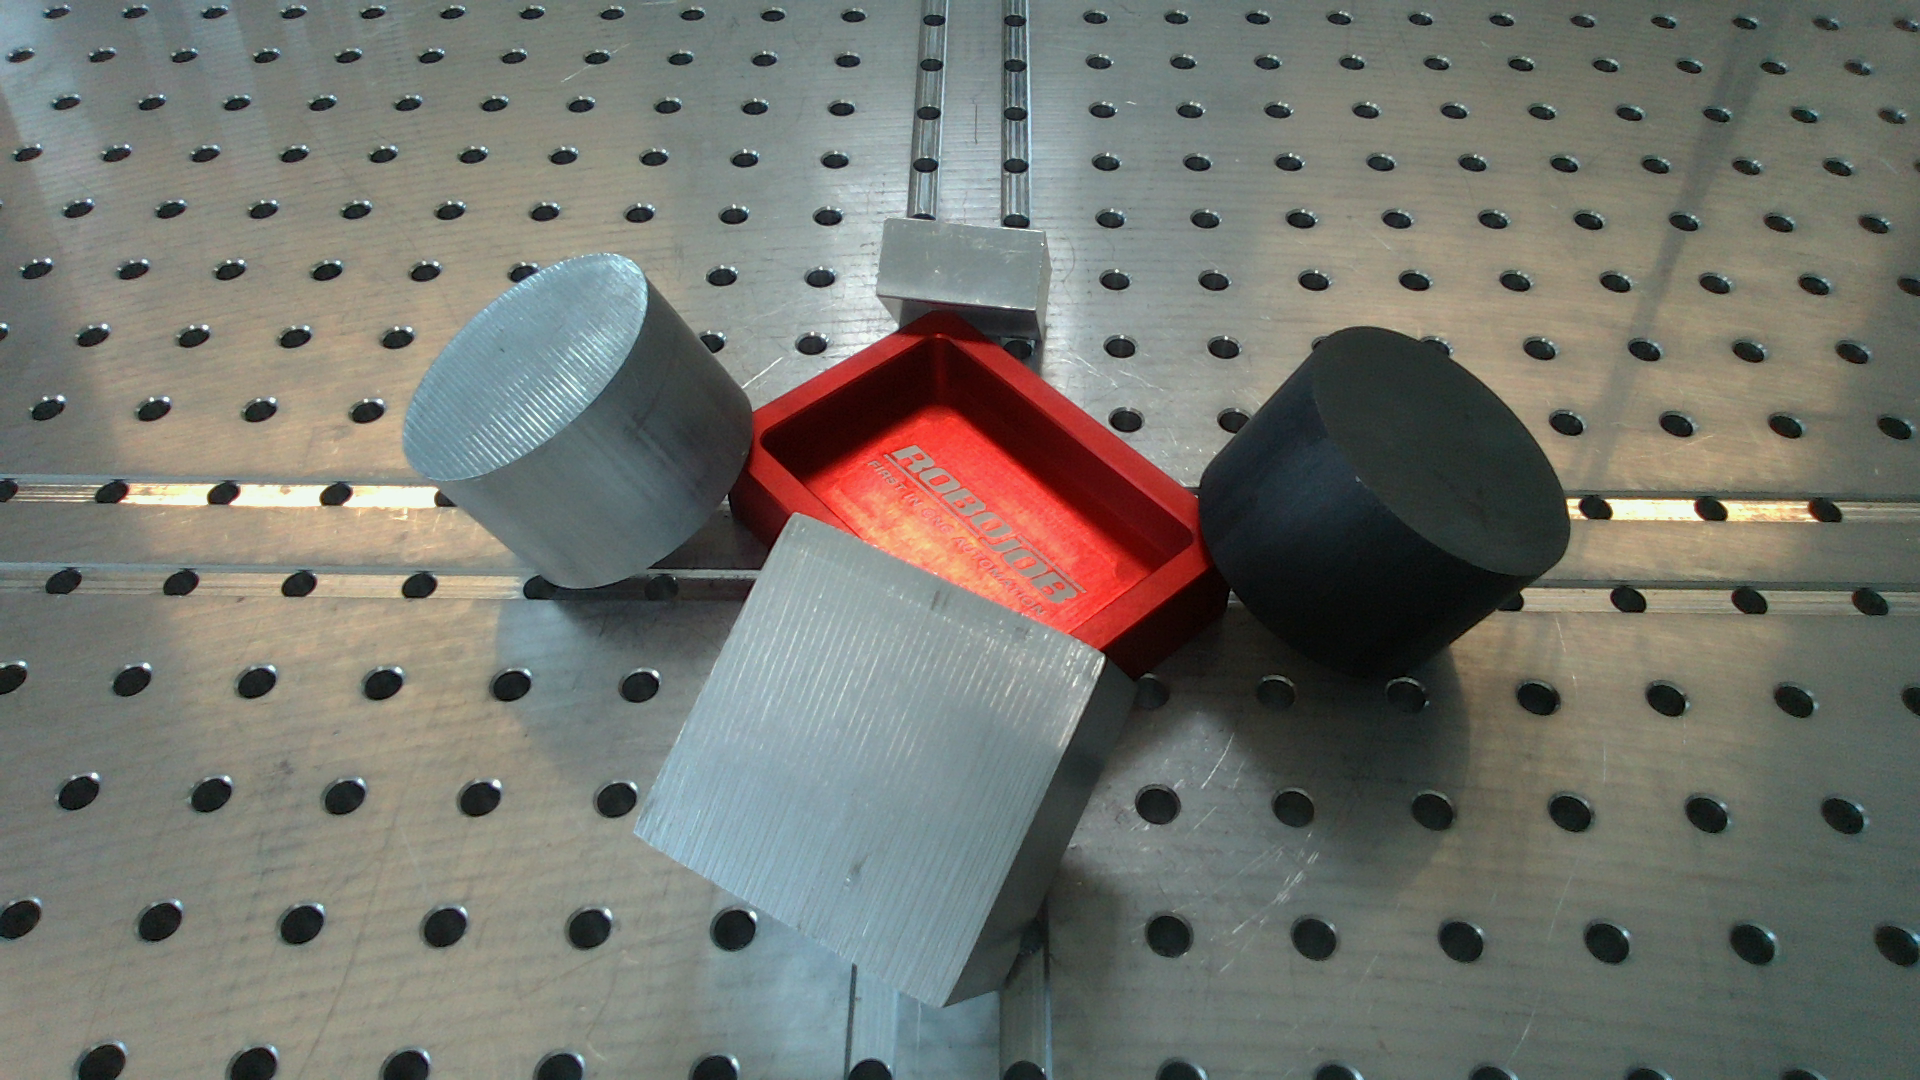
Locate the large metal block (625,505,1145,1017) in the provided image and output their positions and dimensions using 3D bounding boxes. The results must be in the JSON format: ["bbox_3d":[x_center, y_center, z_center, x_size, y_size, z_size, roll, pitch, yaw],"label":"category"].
[{"bbox_3d":[-0.015,0.049,0.314,0.080,0.050,0.080,25,85,19],"label":"large metal block"}]

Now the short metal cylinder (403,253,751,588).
[{"bbox_3d":[-0.106,-0.034,0.387,0.080,0.050,0.080,-17,47,20],"label":"short metal cylinder"}]

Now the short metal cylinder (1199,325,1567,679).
[{"bbox_3d":[0.112,-0.010,0.367,0.080,0.050,0.080,18,47,-20],"label":"short metal cylinder"}]

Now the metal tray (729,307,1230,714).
[{"bbox_3d":[0.003,-0.007,0.396,0.090,0.030,0.130,-34,58,-25],"label":"metal tray"}]

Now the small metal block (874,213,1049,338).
[{"bbox_3d":[0.002,-0.084,0.446,0.050,0.050,0.025,7,88,6],"label":"small metal block"}]
